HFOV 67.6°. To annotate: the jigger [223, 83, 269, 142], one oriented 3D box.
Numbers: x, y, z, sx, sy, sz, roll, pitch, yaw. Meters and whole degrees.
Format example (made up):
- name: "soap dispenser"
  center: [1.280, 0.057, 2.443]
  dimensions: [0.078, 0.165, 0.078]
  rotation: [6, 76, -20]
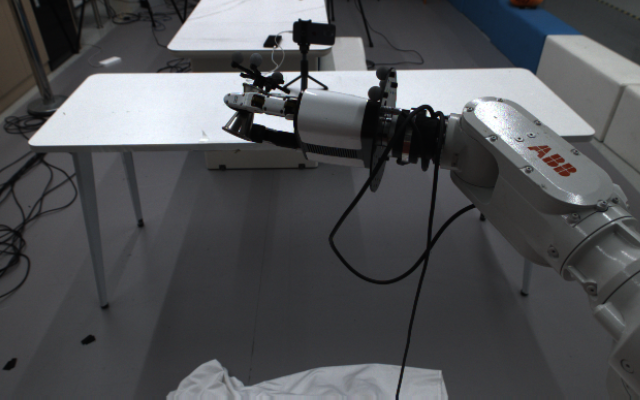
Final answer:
- name: "jigger"
  center: [-0.102, -0.121, 0.659]
  dimensions: [0.043, 0.071, 0.043]
  rotation: [24, -2, 1]
